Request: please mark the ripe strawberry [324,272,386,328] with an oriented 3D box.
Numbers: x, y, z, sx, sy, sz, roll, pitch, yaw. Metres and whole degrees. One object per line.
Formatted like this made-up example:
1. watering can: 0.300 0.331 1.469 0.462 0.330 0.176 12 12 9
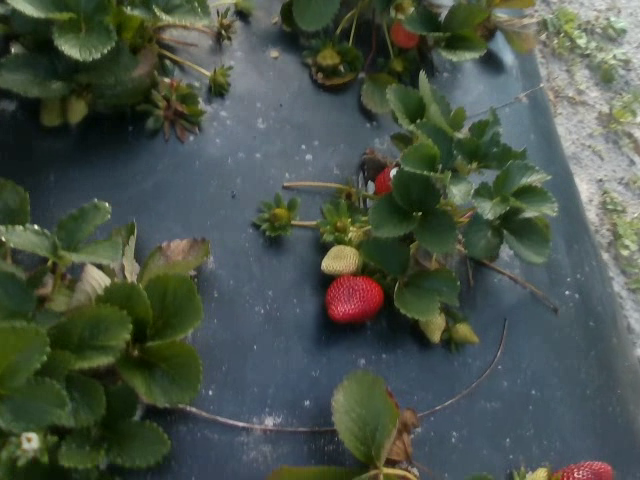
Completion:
1. ripe strawberry: 0.020 0.051 0.514 0.051 0.048 0.055 5 16 31
